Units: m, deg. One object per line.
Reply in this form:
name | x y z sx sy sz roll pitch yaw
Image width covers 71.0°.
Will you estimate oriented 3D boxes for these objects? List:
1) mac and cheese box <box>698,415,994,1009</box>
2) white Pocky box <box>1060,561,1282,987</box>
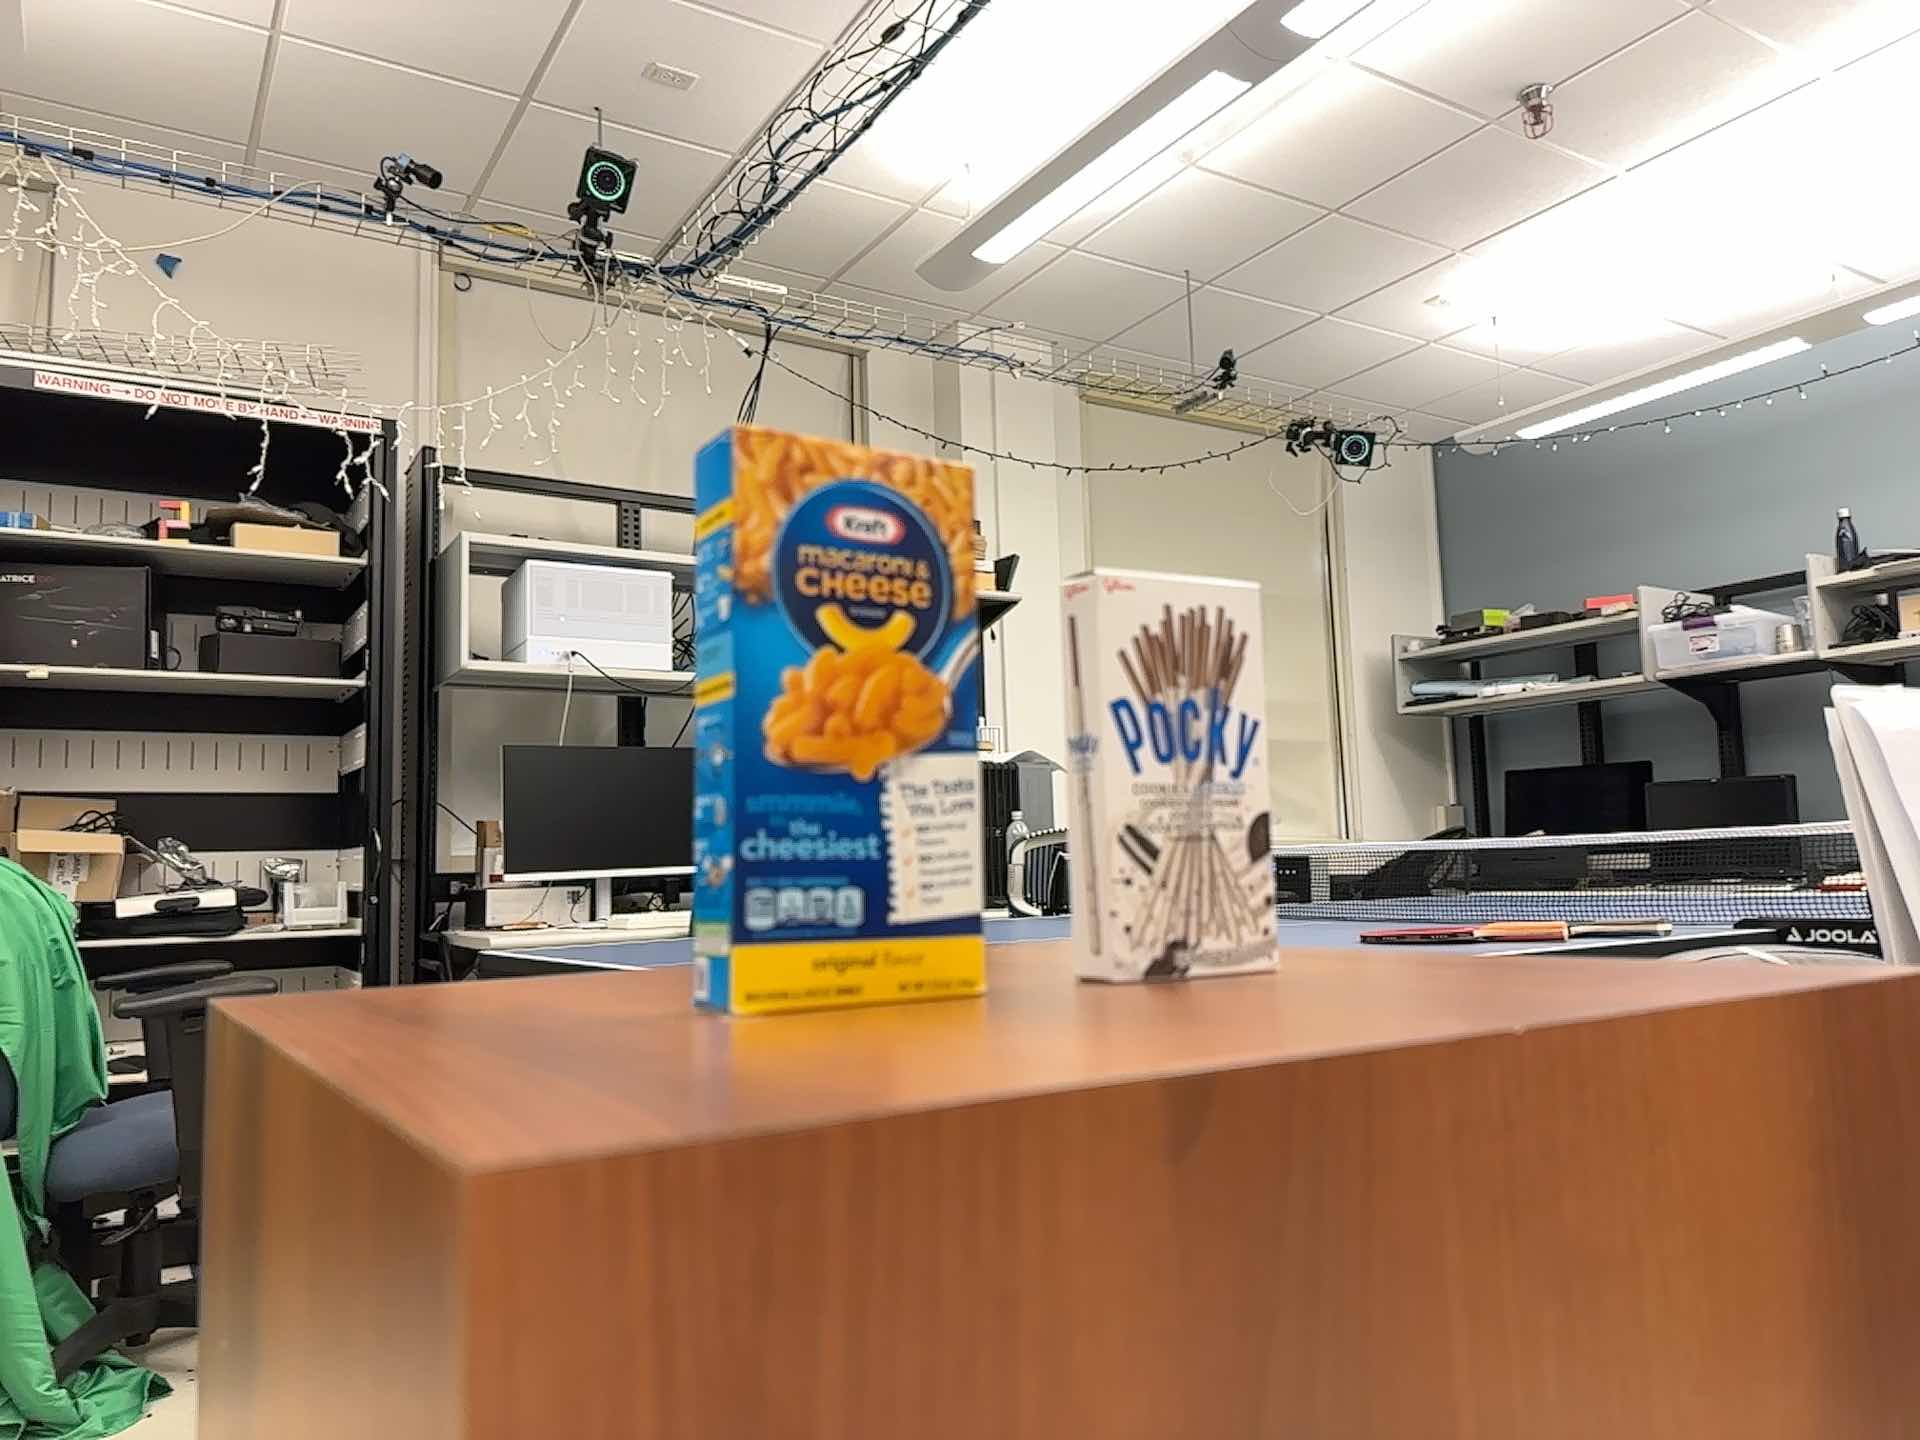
mac and cheese box | -0.038 -0.001 0.445 0.088 0.181 0.035 2 -8 -28
white Pocky box | 0.079 0.021 0.505 0.084 0.154 0.028 3 -7 -25
